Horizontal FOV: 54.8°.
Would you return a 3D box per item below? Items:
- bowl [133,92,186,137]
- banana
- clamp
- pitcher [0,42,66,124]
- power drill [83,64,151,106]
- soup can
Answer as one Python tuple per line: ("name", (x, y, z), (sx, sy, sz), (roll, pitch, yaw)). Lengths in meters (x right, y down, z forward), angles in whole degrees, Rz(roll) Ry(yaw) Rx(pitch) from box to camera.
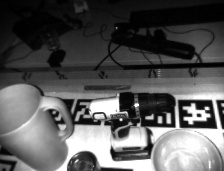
("bowl", (0.140, 0.082, 0.603), (0.161, 0.056, 0.161), (-6, 50, 8))
("banana", (-0.212, 0.159, 0.627), (0.198, 0.039, 0.073), (-18, 40, -6))
("clamp", (0.059, 0.204, 0.518), (0.202, 0.037, 0.165), (-2, 53, 11))
("pitcher", (-0.211, 0.006, 0.619), (0.189, 0.245, 0.132), (-19, 45, -3))
("power drill", (0.028, -0.016, 0.599), (0.184, 0.188, 0.057), (-4, 49, 9))
("soup can", (-0.090, 0.099, 0.608), (0.068, 0.103, 0.067), (-7, 40, 6))
